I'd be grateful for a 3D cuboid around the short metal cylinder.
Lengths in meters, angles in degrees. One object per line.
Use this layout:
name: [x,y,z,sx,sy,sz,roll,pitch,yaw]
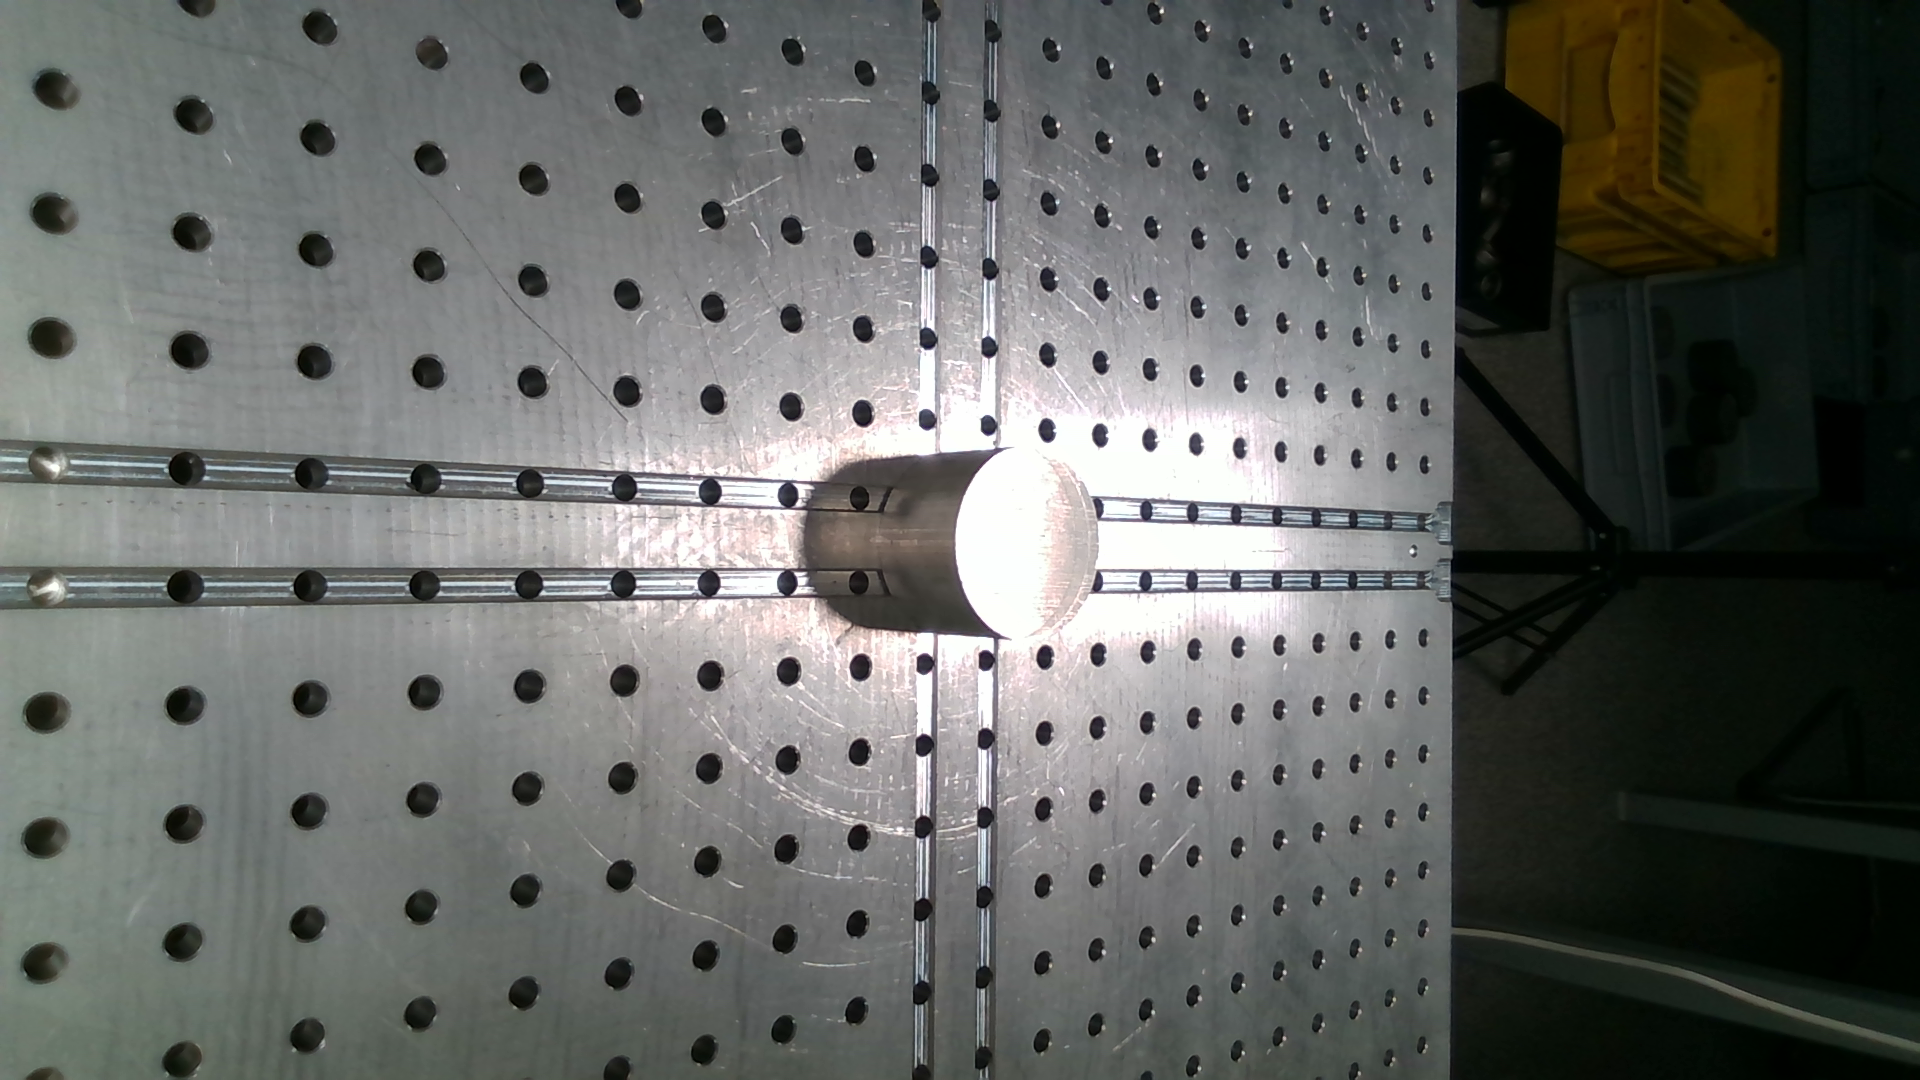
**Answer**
short metal cylinder: [0.013,0.001,0.580,0.080,0.050,0.080,0,90,-40]
